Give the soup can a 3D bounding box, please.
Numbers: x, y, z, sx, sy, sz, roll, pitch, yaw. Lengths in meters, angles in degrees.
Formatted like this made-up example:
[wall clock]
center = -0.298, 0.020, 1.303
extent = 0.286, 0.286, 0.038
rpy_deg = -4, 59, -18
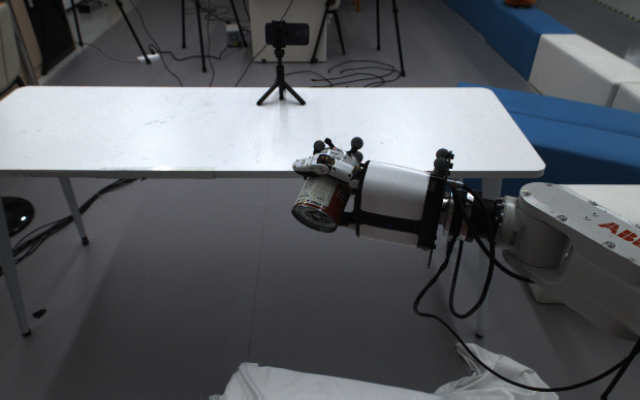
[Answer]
[soup can]
center = 0.011, -0.015, 0.680
extent = 0.067, 0.067, 0.101
rpy_deg = 15, 63, 18
